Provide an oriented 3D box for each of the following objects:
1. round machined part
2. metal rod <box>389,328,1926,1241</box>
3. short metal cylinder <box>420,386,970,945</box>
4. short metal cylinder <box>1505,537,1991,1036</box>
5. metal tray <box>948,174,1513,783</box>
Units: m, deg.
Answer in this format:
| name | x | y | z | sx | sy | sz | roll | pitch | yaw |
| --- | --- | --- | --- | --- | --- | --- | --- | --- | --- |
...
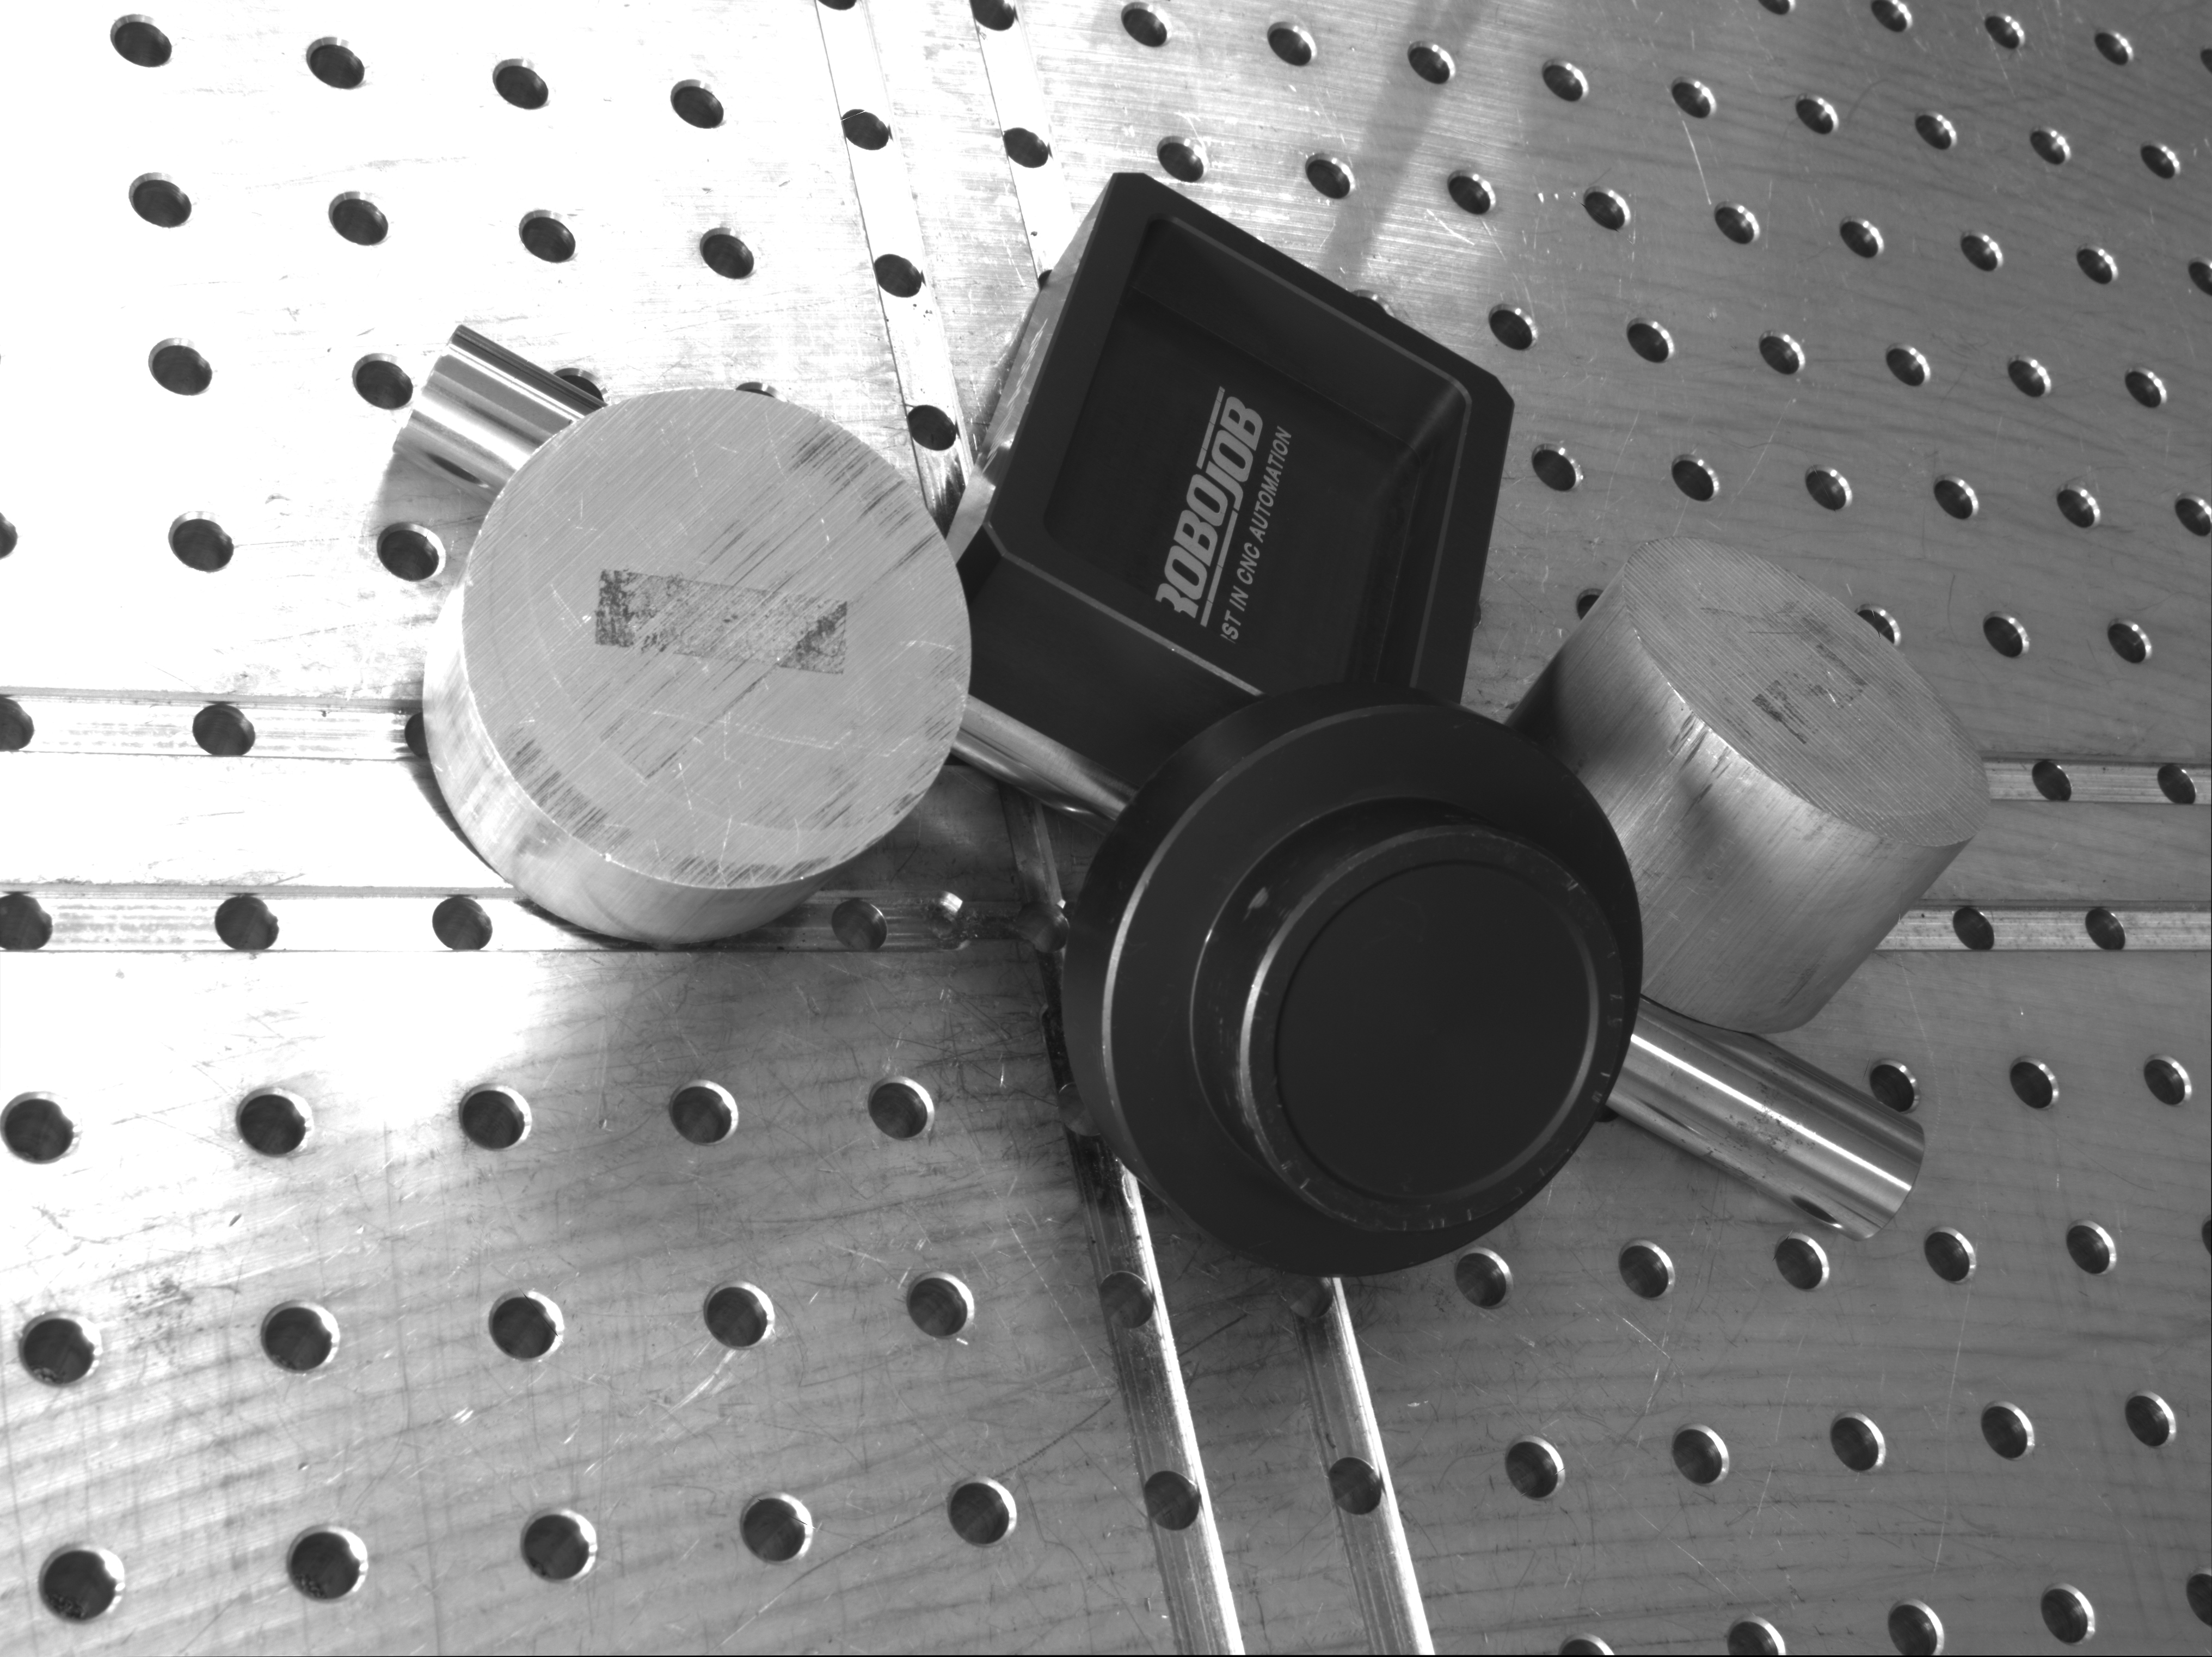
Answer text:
| name | x | y | z | sx | sy | sz | roll | pitch | yaw |
| --- | --- | --- | --- | --- | --- | --- | --- | --- | --- |
| round machined part | 0.045 | 0.028 | 0.603 | 0.098 | 0.042 | 0.098 | -6 | 106 | -21 |
| metal rod | 0.014 | -0.005 | 0.652 | 0.300 | 0.025 | 0.025 | 28 | 52 | -10 |
| short metal cylinder | -0.067 | -0.025 | 0.590 | 0.080 | 0.050 | 0.080 | 4 | 77 | -17 |
| short metal cylinder | 0.115 | -0.008 | 0.677 | 0.080 | 0.050 | 0.080 | 24 | 33 | -17 |
| metal tray | 0.023 | -0.058 | 0.667 | 0.090 | 0.030 | 0.130 | 28 | 39 | -10 |
